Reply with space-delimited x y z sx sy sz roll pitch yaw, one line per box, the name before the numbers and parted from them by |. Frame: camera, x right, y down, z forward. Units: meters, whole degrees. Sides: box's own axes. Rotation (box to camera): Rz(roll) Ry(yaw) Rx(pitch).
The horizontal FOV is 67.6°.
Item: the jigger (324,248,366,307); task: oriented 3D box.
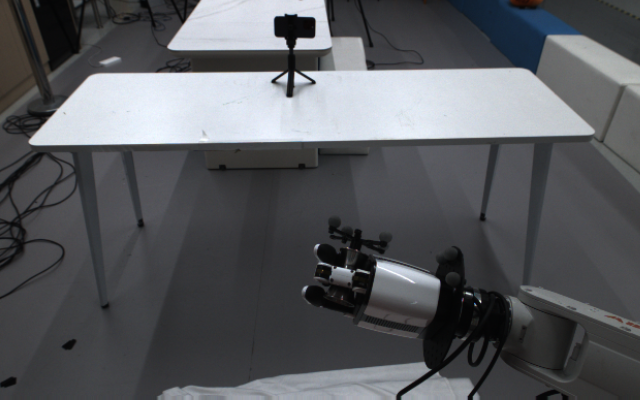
jigger | 0.038 0.101 0.634 0.043 0.043 0.071 12 71 14
